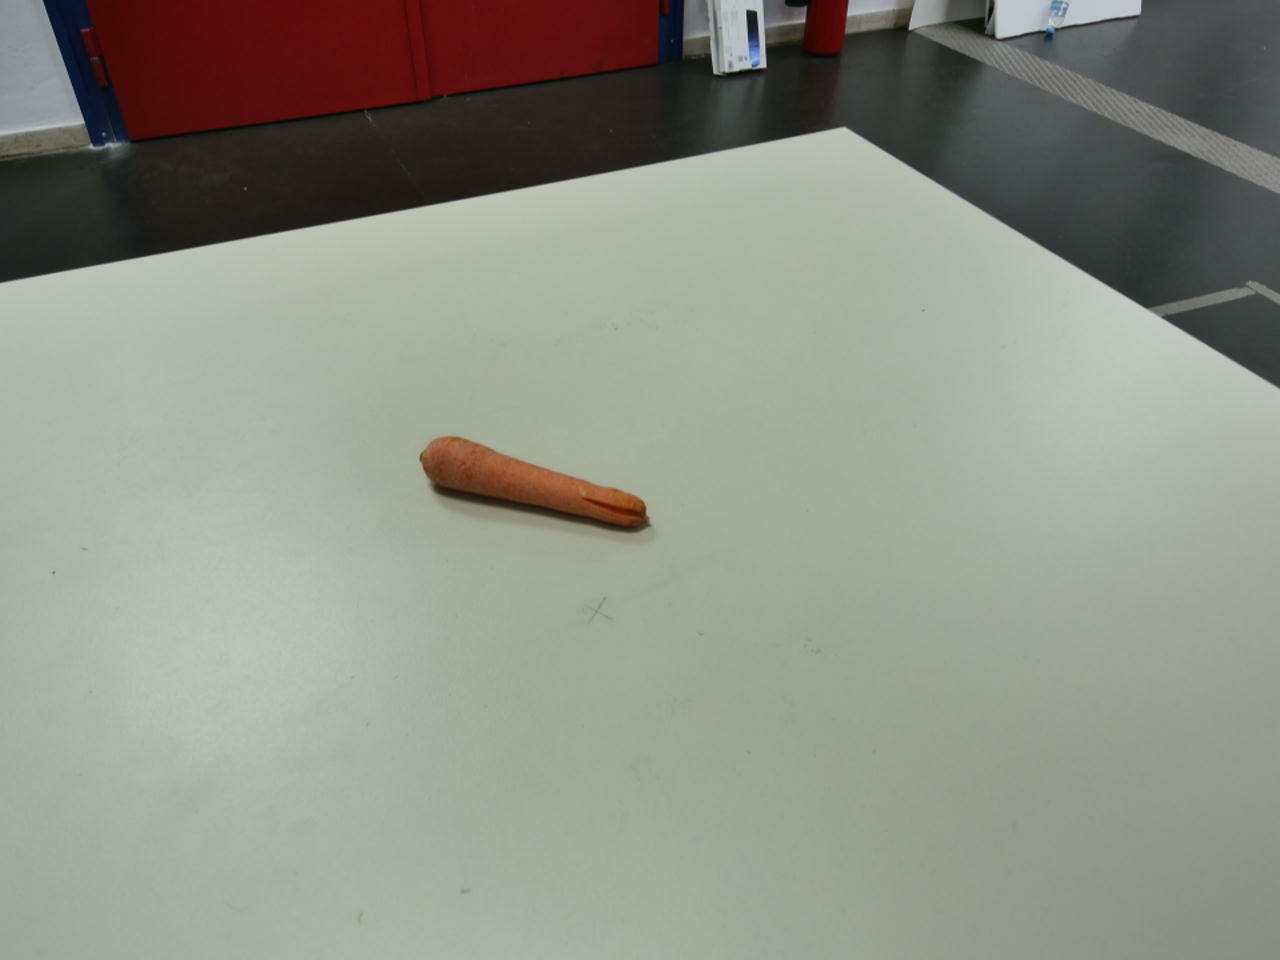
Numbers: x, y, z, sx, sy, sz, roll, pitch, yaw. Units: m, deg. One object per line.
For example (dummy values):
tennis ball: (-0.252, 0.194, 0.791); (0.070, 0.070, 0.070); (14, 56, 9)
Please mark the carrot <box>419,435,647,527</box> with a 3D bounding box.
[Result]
carrot: (-0.061, 0.001, 0.553); (0.136, 0.032, 0.030); (13, 40, 15)
